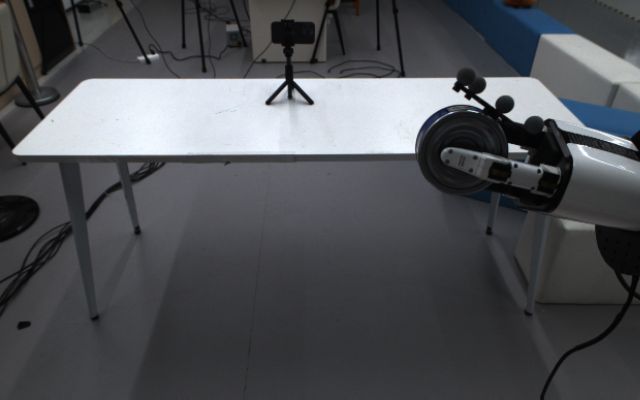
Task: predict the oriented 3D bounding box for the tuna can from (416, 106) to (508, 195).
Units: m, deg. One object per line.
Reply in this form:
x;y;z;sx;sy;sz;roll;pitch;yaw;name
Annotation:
0.143;-0.043;0.476;0.085;0.085;0.034;7;19;6;tuna can
